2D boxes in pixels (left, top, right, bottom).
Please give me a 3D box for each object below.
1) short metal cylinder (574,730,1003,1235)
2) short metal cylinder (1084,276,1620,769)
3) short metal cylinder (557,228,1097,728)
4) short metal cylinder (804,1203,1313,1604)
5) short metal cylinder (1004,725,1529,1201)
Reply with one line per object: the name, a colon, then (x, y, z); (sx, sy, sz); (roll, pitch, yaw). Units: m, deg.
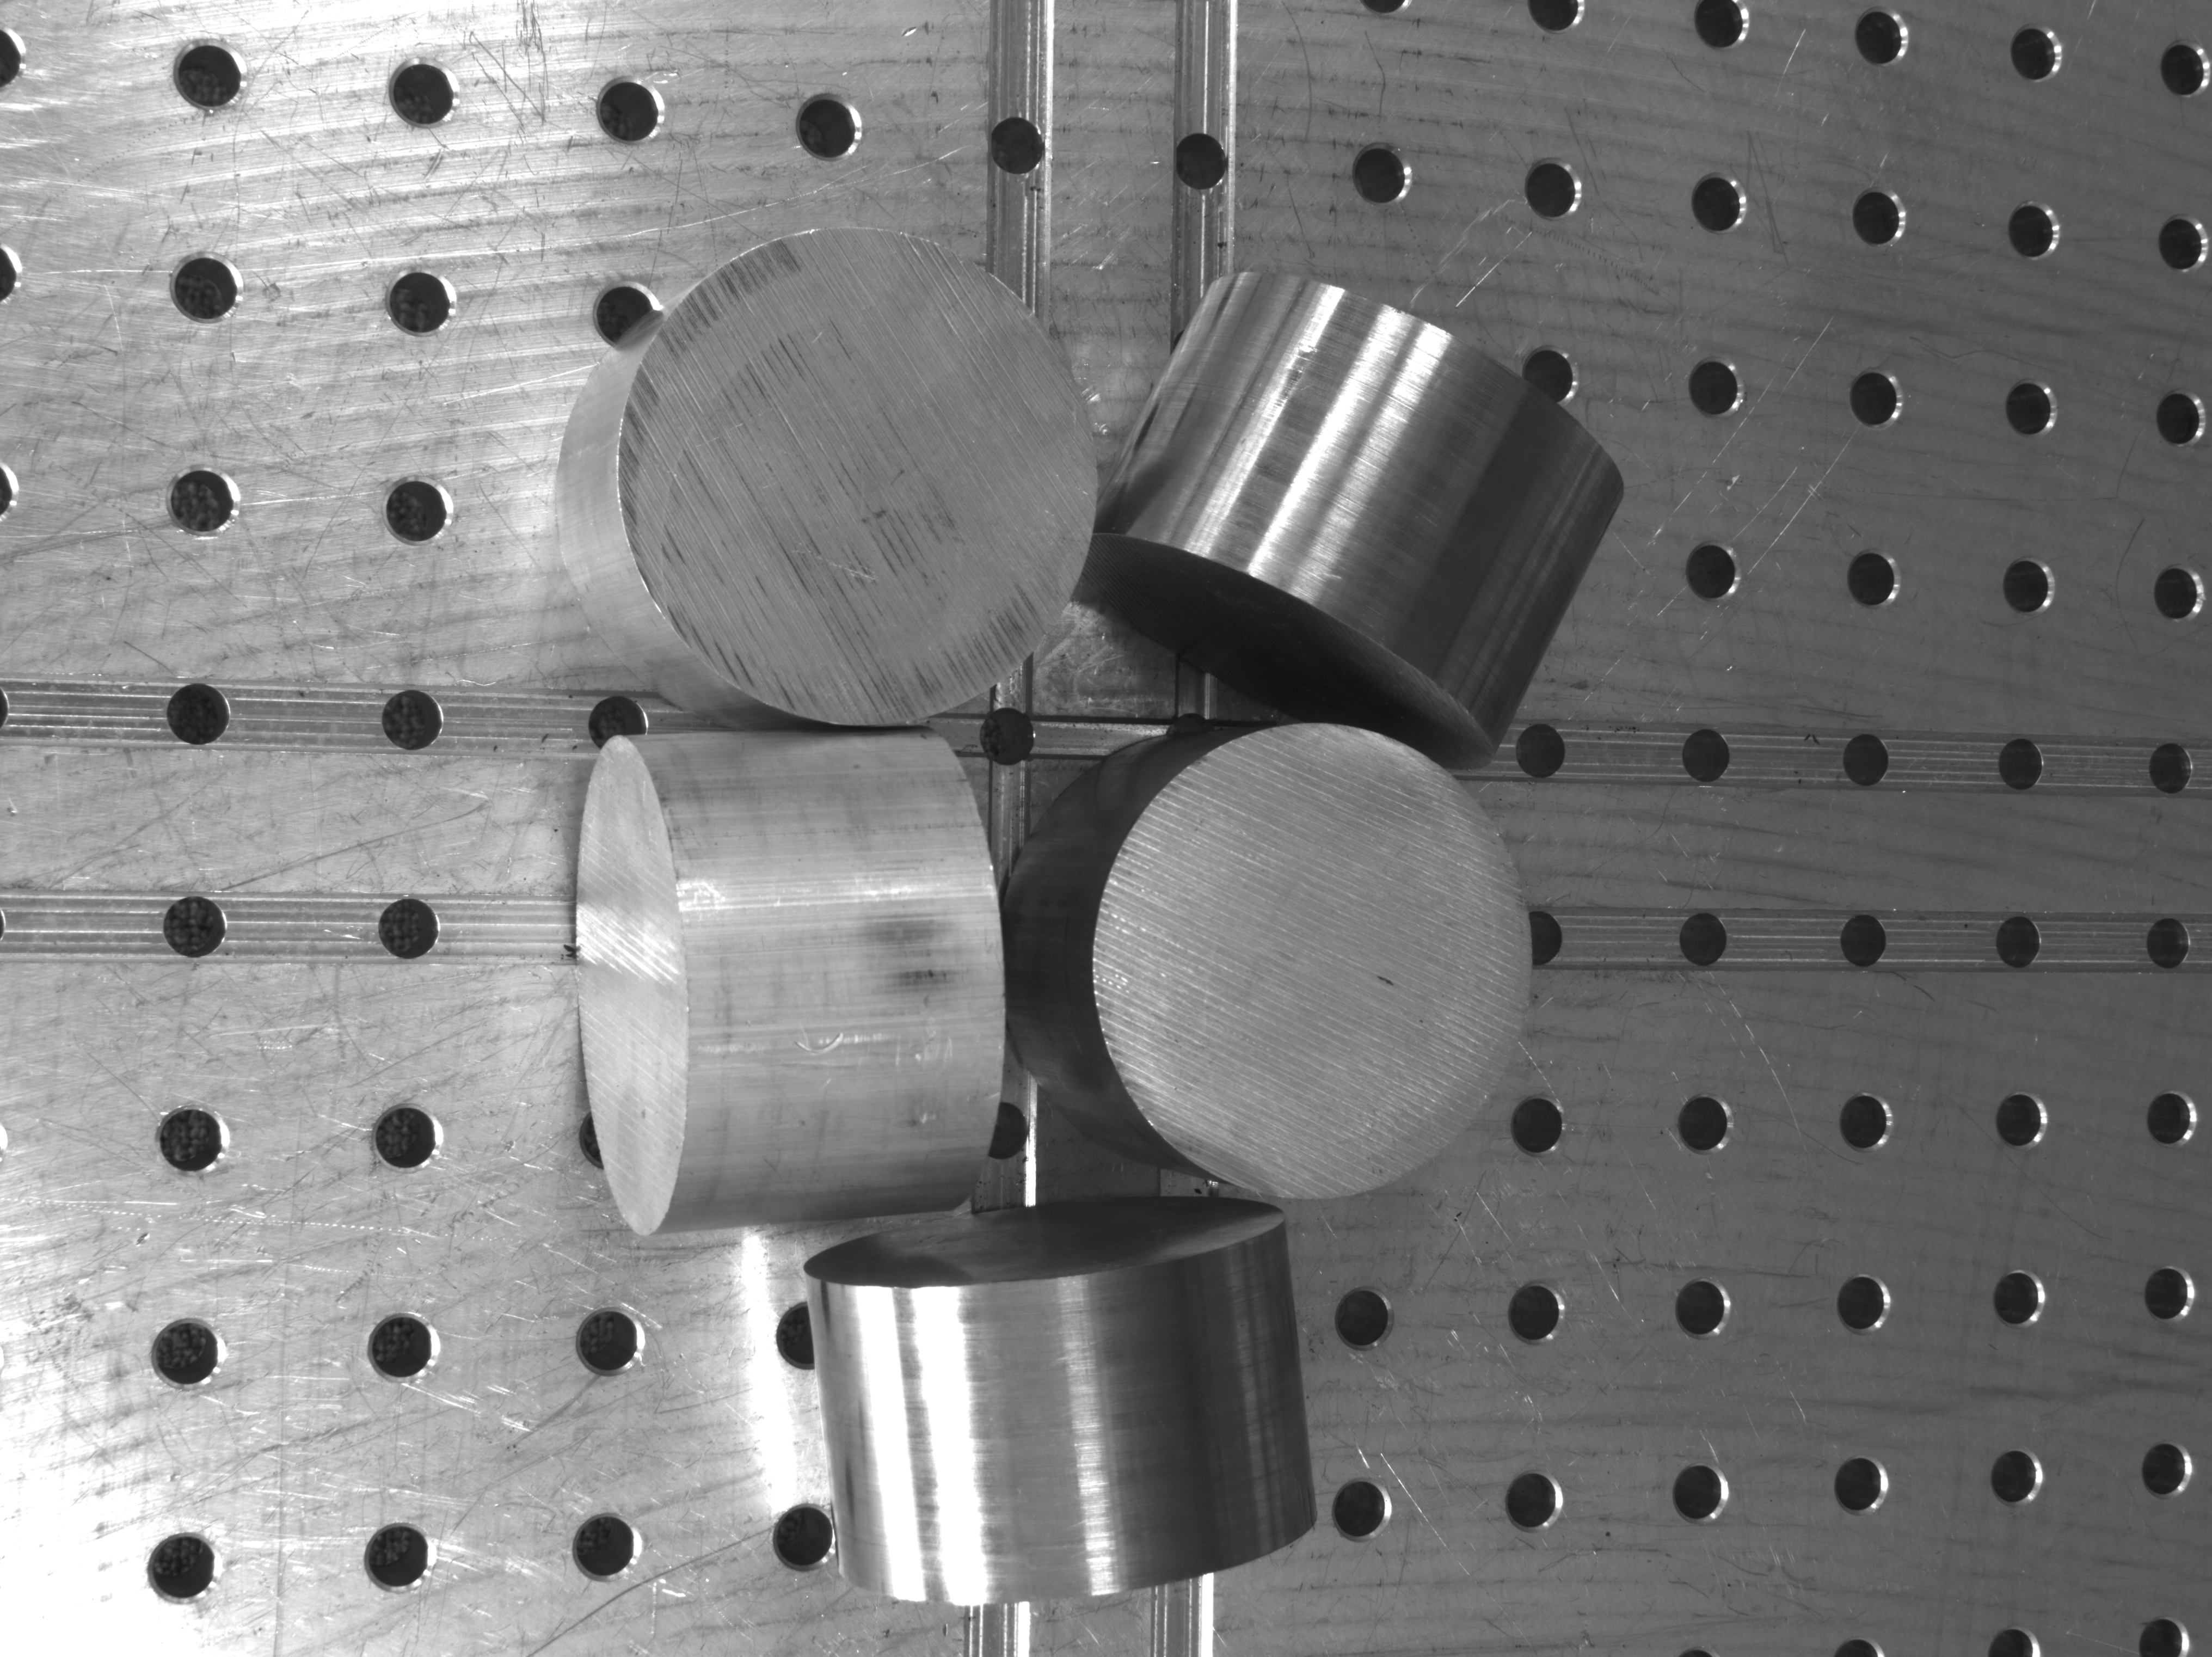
short metal cylinder: (-0.053, 0.024, 0.598); (0.050, 0.080, 0.080); (-2, 91, -20)
short metal cylinder: (0.041, -0.052, 0.632); (0.080, 0.080, 0.050); (30, 79, -17)
short metal cylinder: (-0.047, -0.056, 0.615); (0.080, 0.050, 0.080); (0, 90, -19)
short metal cylinder: (-0.008, 0.094, 0.613); (0.080, 0.080, 0.050); (-7, 92, -20)
short metal cylinder: (0.026, 0.022, 0.642); (0.080, 0.050, 0.080); (0, 90, -20)
